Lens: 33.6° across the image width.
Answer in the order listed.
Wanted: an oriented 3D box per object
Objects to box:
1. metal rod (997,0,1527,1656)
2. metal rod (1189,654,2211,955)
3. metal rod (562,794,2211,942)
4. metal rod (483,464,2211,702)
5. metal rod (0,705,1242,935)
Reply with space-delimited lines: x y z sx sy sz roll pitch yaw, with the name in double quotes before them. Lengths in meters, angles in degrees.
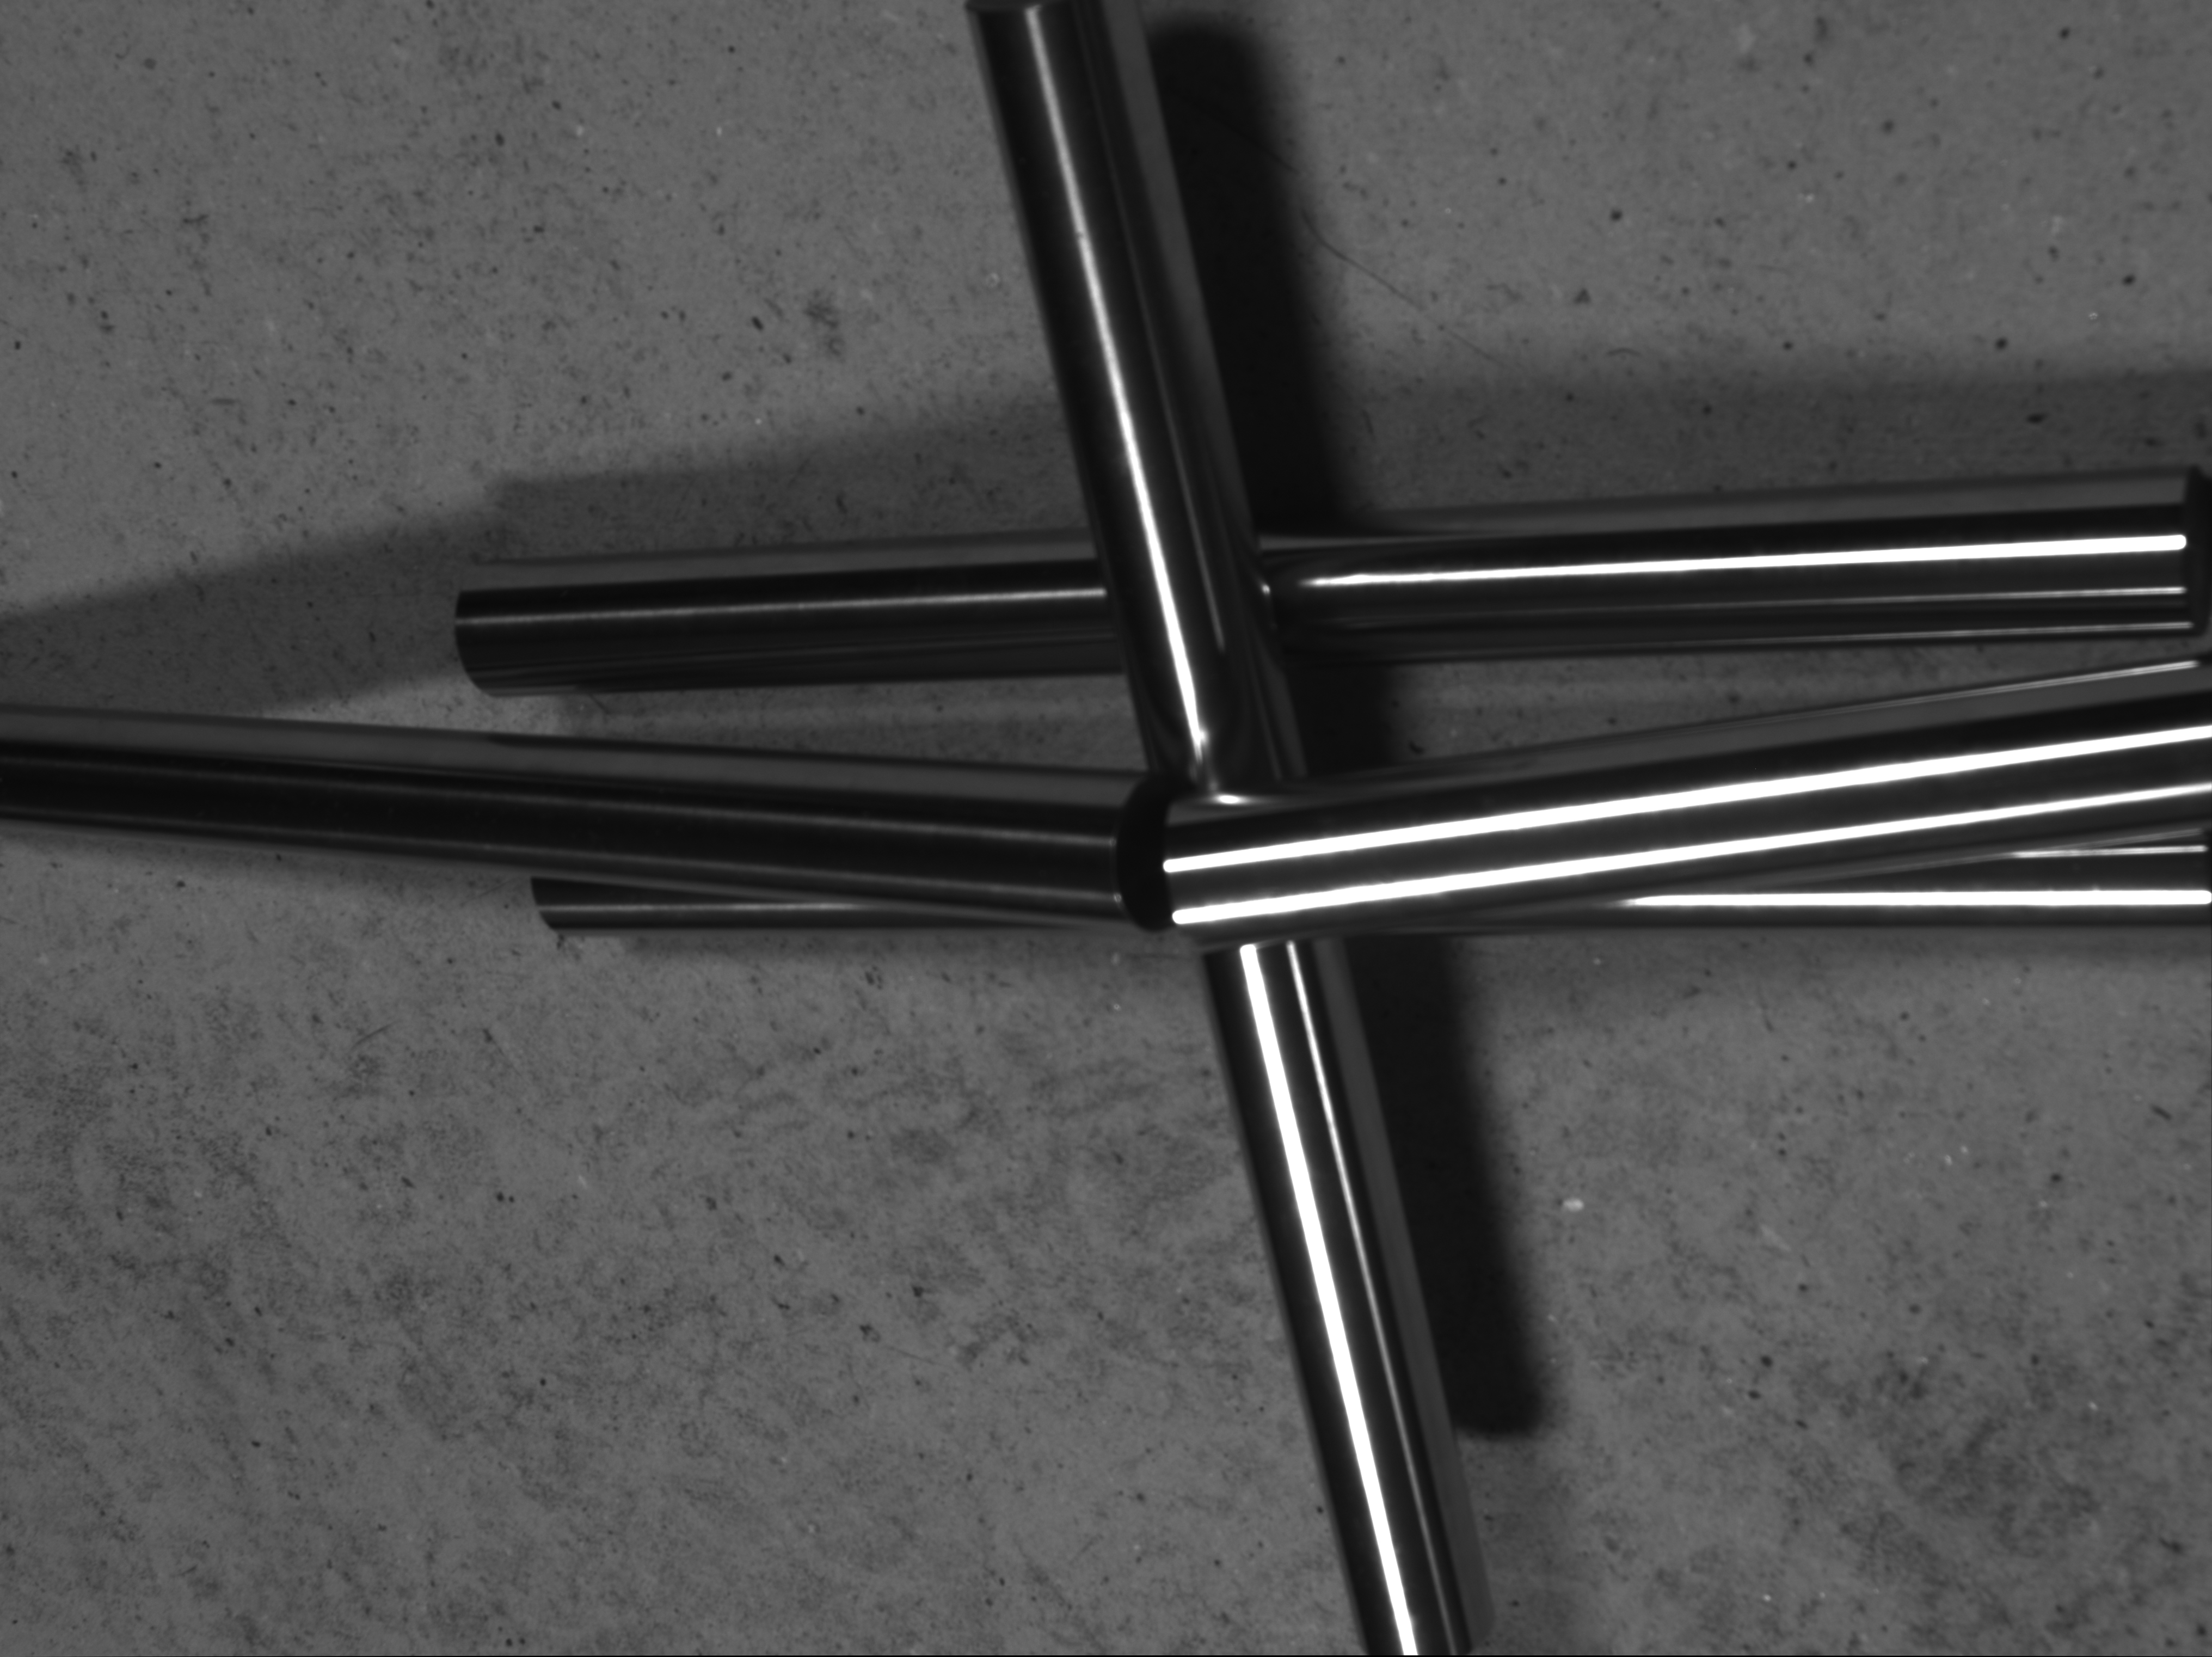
"metal rod" 0.030 0.010 0.591 0.025 0.025 0.300 -1 118 27
"metal rod" 0.157 -0.012 0.514 0.300 0.025 0.025 -8 115 19
"metal rod" 0.039 0.007 0.615 0.299 0.025 0.025 -1 118 27
"metal rod" 0.028 -0.038 0.594 0.299 0.025 0.025 -1 118 27
"metal rod" -0.107 -0.005 0.650 0.299 0.025 0.025 4 120 36
